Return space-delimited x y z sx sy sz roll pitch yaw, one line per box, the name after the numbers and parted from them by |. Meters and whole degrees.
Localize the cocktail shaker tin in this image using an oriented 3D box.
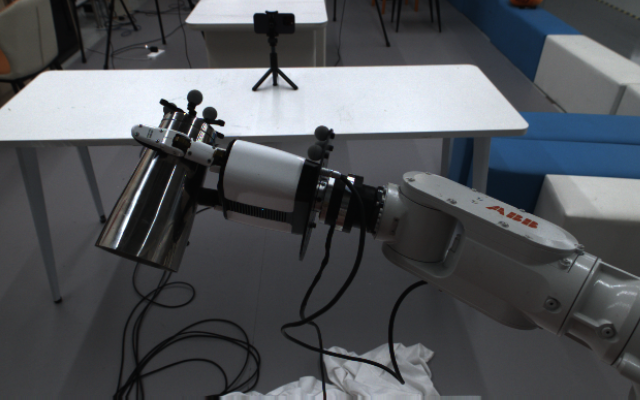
-0.179 -0.011 0.559 0.093 0.093 0.170 12 72 14 | cocktail shaker tin
